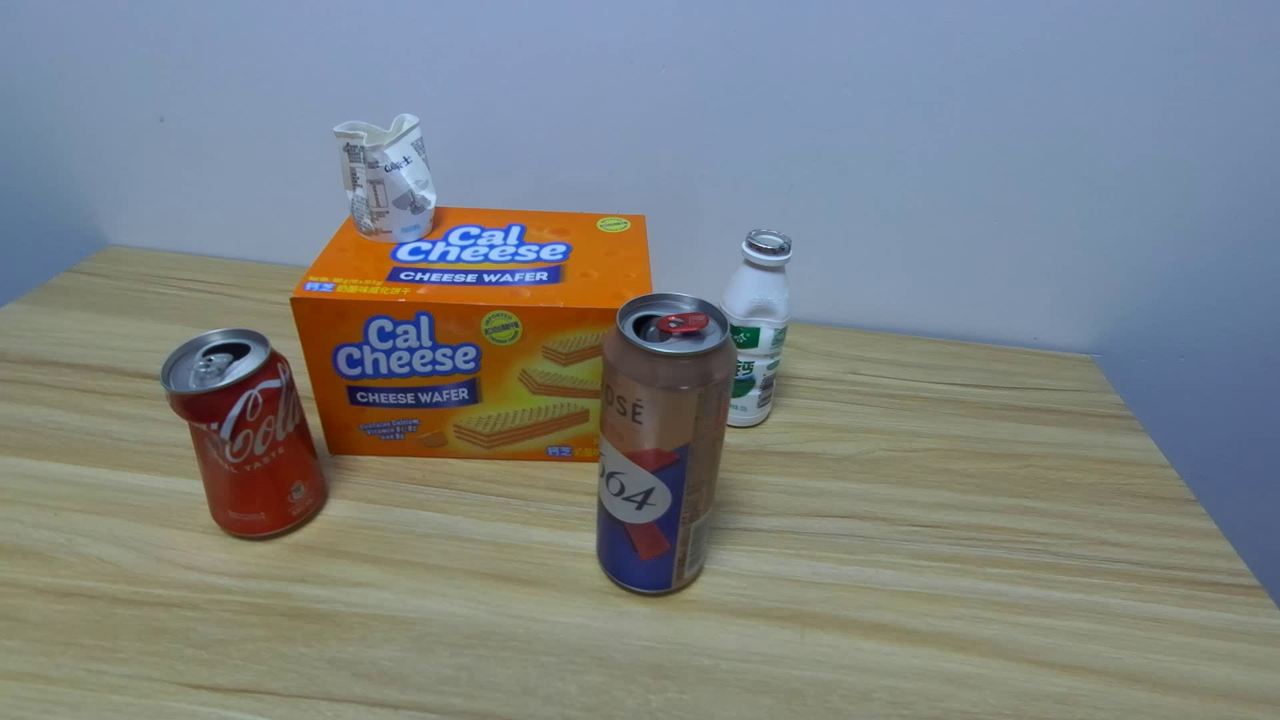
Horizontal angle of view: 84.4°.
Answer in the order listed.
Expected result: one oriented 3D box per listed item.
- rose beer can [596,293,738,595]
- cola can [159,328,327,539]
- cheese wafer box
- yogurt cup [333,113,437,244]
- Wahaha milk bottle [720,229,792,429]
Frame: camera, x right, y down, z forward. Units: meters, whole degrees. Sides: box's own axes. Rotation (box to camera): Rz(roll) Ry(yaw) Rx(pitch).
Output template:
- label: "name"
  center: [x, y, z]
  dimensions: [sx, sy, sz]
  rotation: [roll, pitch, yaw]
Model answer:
- label: "rose beer can"
  center: [0.011, 0.051, 0.387]
  dimensions: [0.069, 0.169, 0.068]
  rotation: [2, 34, -1]
- label: "cola can"
  center: [-0.226, 0.045, 0.413]
  dimensions: [0.066, 0.117, 0.072]
  rotation: [-22, 41, -34]
- label: "cheese wafer box"
  center: [-0.105, -0.023, 0.519]
  dimensions: [0.222, 0.129, 0.148]
  rotation: [2, 36, -3]
- label: "yogurt cup"
  center: [-0.171, -0.124, 0.481]
  dimensions: [0.055, 0.072, 0.055]
  rotation: [-28, 48, -37]
- label: "Wahaha milk bottle"
  center: [0.081, -0.016, 0.516]
  dimensions: [0.053, 0.137, 0.053]
  rotation: [3, 34, -2]
